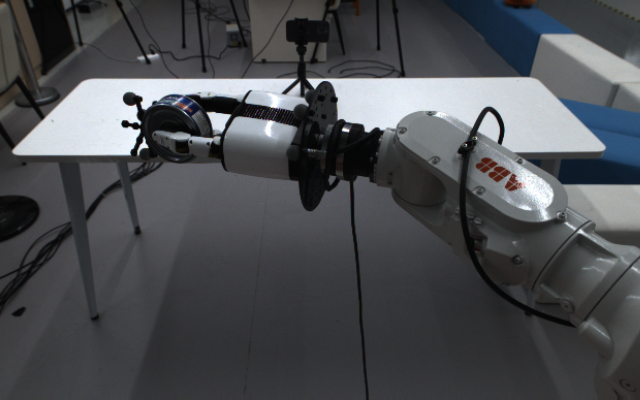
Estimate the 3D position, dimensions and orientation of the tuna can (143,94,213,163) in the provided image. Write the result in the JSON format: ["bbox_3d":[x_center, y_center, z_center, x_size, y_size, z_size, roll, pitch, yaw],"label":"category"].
[{"bbox_3d":[-0.184,-0.089,0.628,0.085,0.085,0.034,9,34,10],"label":"tuna can"}]
